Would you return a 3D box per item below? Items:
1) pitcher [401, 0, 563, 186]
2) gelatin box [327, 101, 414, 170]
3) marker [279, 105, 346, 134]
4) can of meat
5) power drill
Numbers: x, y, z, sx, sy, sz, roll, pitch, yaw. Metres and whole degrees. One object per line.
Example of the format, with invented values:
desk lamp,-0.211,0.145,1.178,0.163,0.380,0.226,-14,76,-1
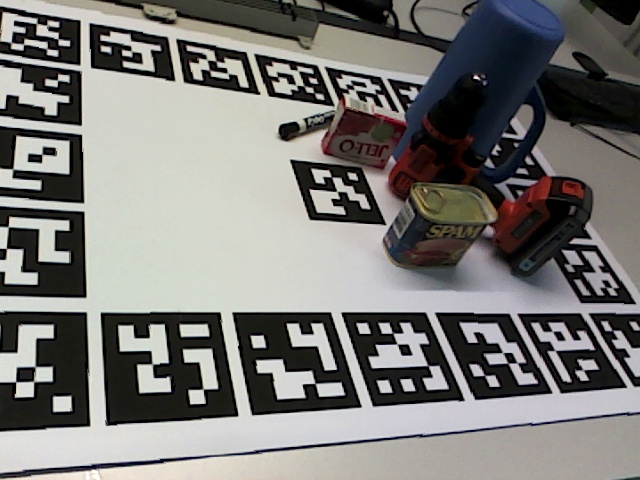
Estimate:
pitcher,0.220,-0.178,0.807,0.189,0.242,0.133,23,46,3
gelatin box,0.064,-0.132,0.796,0.089,0.073,0.030,13,49,-19
marker,-0.007,-0.161,0.822,0.120,0.019,0.020,-24,64,-40
can of meat,0.132,-0.012,0.703,0.101,0.084,0.058,3,47,-26
power drill,0.194,-0.087,0.739,0.187,0.185,0.057,33,45,-4
